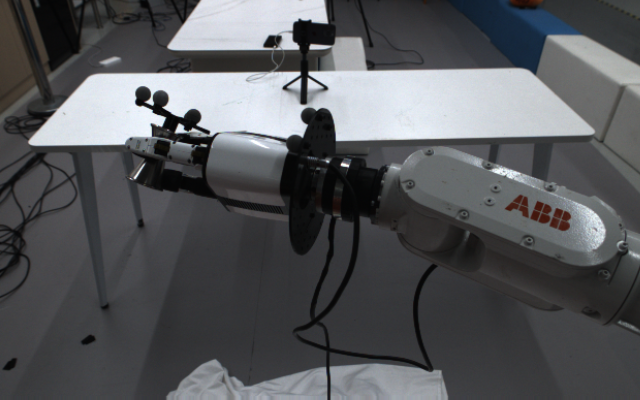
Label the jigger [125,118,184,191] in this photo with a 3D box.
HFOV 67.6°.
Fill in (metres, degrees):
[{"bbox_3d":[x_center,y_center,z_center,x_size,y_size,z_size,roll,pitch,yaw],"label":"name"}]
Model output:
[{"bbox_3d":[-0.190,-0.050,0.558,0.043,0.071,0.043,24,-2,1],"label":"jigger"}]
